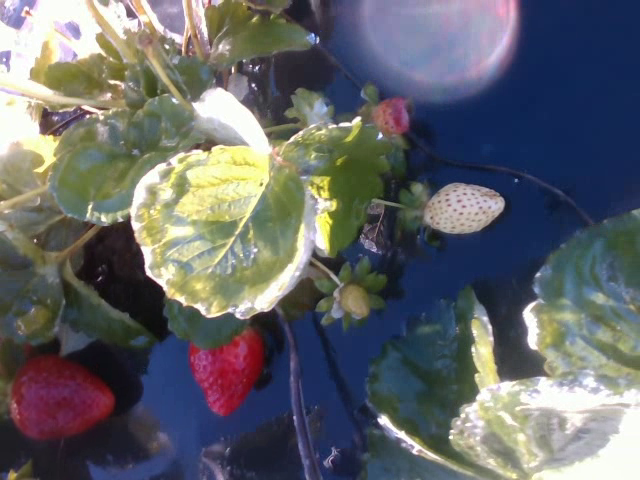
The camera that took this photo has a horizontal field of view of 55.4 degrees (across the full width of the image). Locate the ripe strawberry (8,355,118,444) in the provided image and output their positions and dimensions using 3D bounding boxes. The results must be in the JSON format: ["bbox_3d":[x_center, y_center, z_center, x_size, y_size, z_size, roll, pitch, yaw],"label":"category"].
[{"bbox_3d":[-0.126,0.081,0.295,0.056,0.044,0.040,6,13,6],"label":"ripe strawberry"}]

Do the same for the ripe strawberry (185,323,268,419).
[{"bbox_3d":[-0.040,0.057,0.265,0.039,0.047,0.040,-5,0,8],"label":"ripe strawberry"}]
